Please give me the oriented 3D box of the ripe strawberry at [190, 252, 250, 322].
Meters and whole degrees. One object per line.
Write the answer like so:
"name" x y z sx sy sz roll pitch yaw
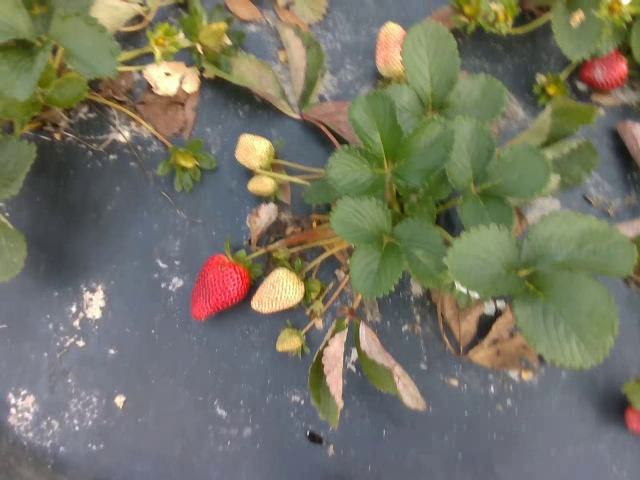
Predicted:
"ripe strawberry" -0.079 0.037 0.476 0.050 0.059 0.033 27 -24 5
